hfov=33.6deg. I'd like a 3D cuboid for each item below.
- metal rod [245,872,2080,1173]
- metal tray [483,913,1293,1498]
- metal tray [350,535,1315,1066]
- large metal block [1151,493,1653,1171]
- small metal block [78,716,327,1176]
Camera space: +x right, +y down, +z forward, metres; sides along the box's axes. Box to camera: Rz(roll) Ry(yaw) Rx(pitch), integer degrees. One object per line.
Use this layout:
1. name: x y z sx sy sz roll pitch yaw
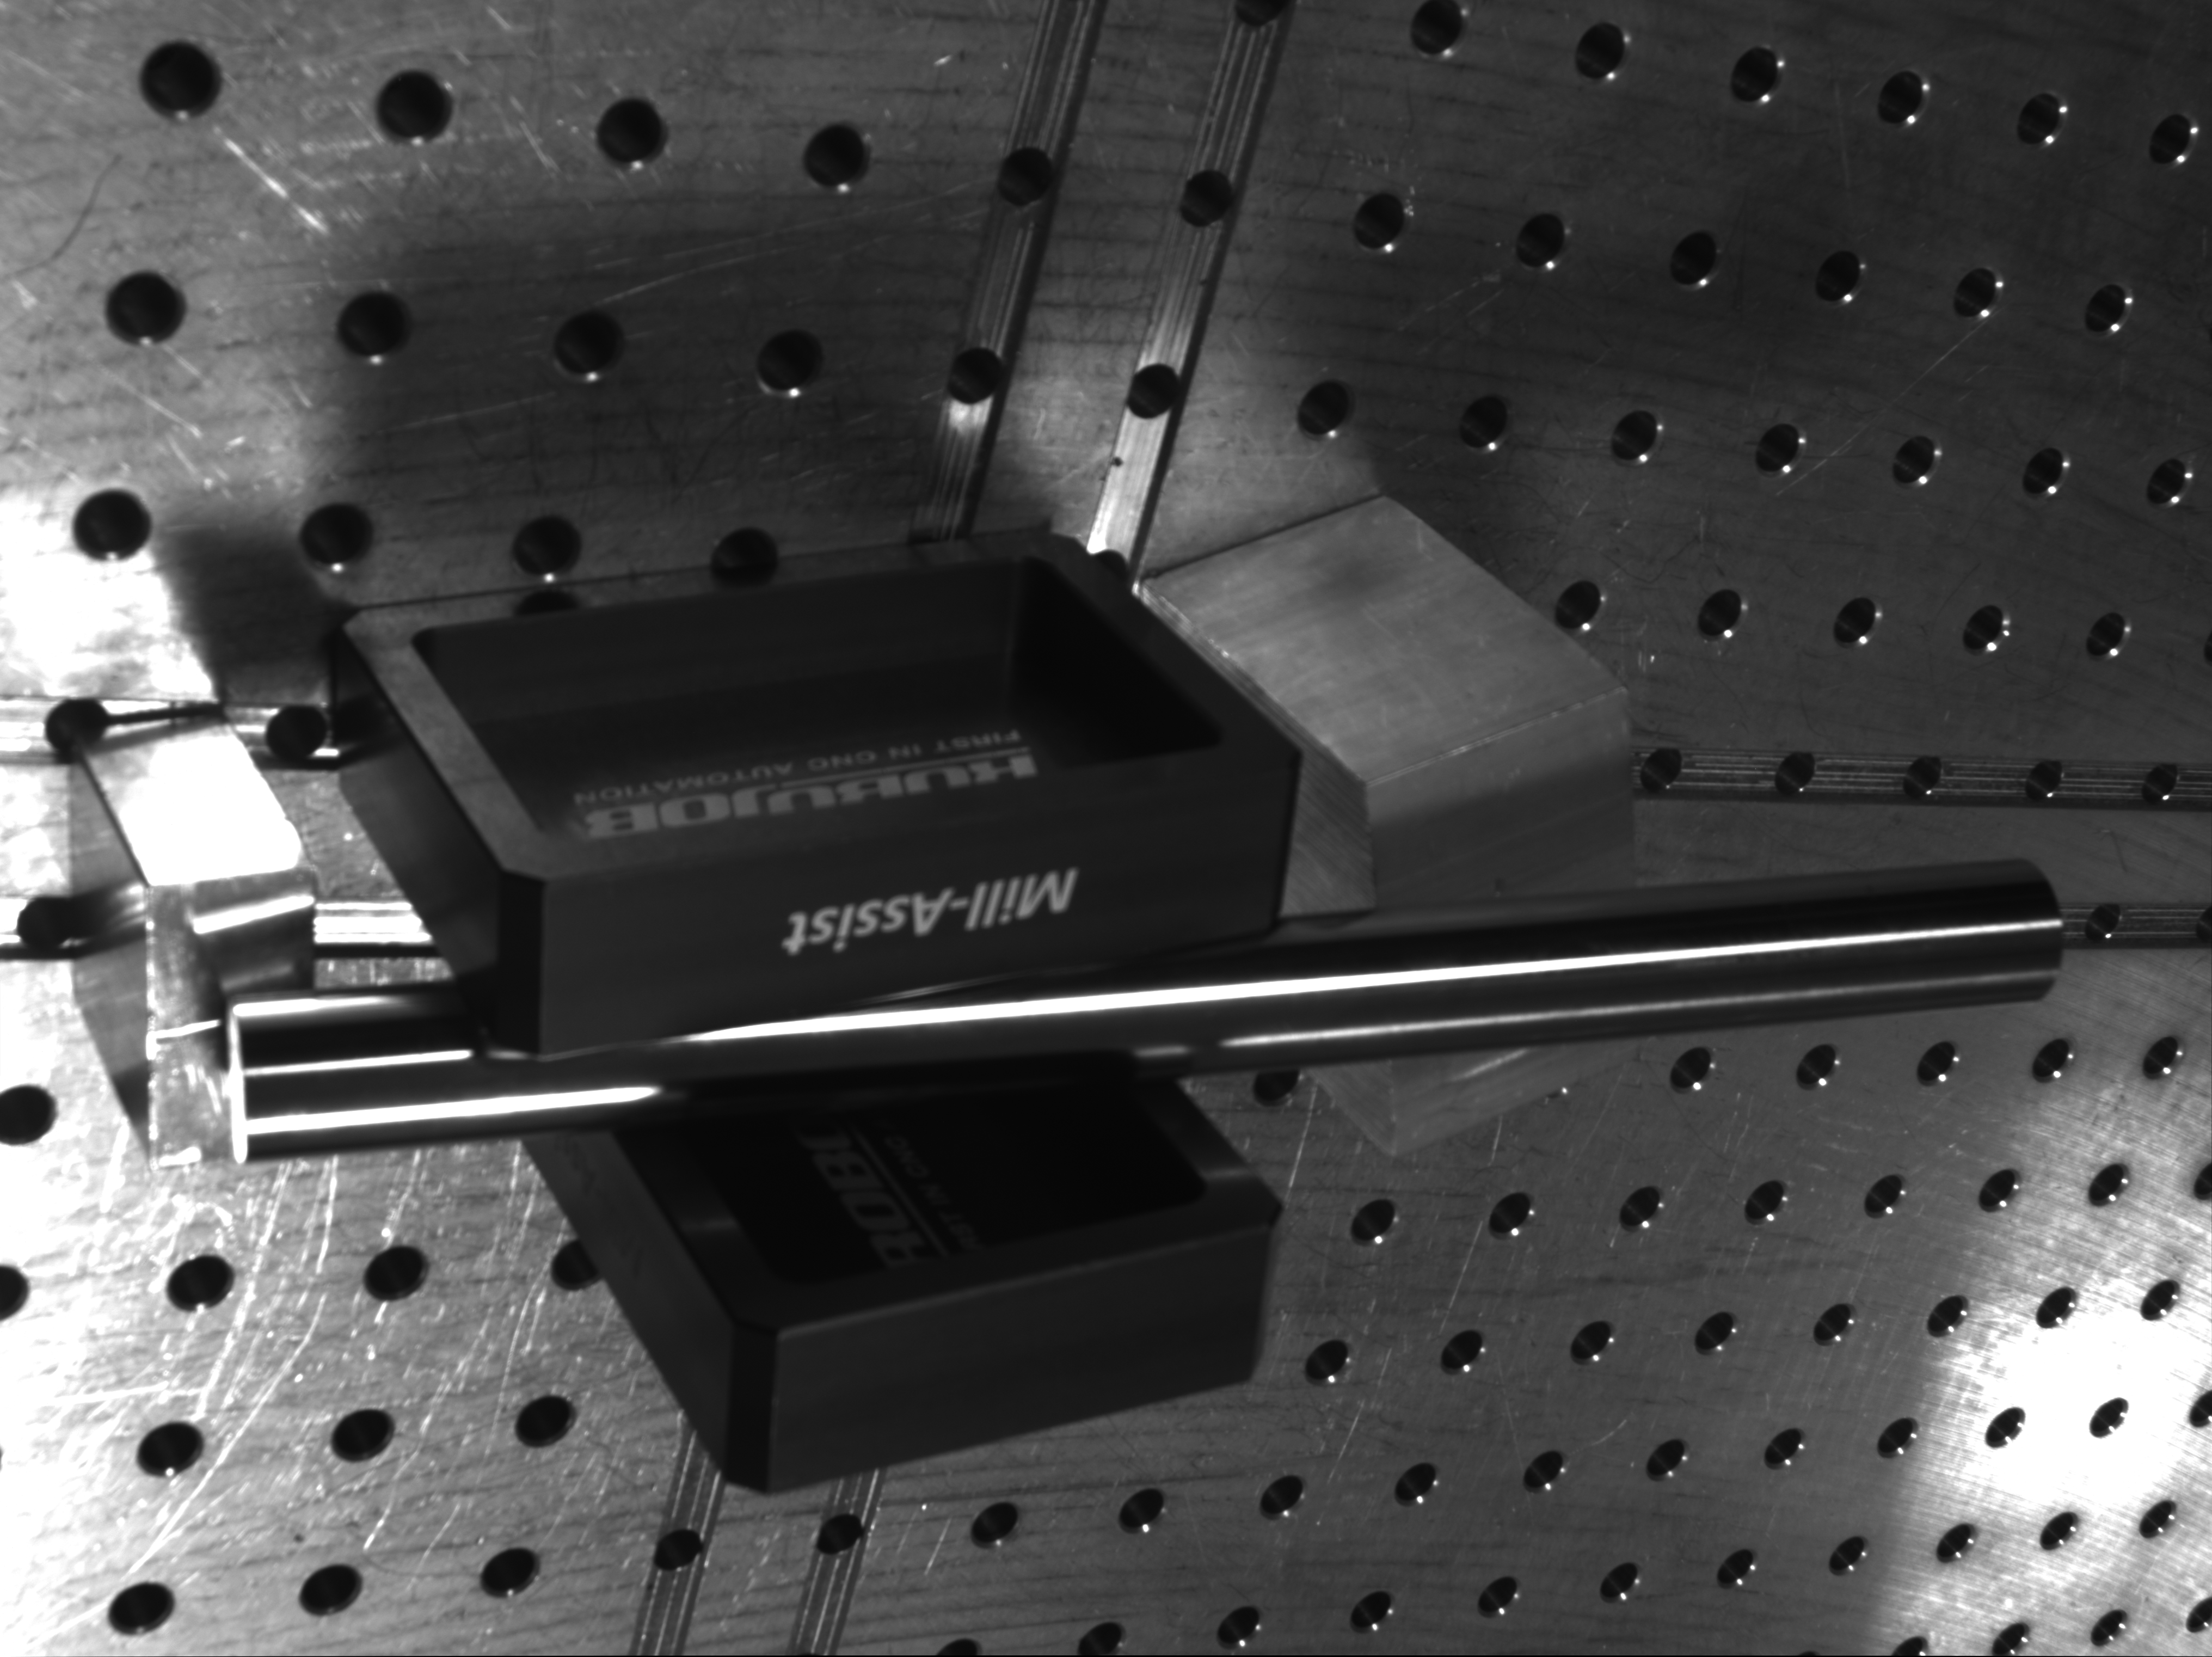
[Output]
1. metal rod: 0.017 0.029 0.583 0.300 0.025 0.025 -4 120 -18
2. metal tray: -0.039 0.048 0.592 0.090 0.130 0.030 -9 123 -26
3. metal tray: -0.044 -0.008 0.579 0.130 0.090 0.030 -9 123 -26
4. large metal block: 0.052 -0.001 0.647 0.050 0.080 0.080 -21 127 -18
5. small metal block: -0.140 0.017 0.566 0.025 0.050 0.050 -8 122 -26
